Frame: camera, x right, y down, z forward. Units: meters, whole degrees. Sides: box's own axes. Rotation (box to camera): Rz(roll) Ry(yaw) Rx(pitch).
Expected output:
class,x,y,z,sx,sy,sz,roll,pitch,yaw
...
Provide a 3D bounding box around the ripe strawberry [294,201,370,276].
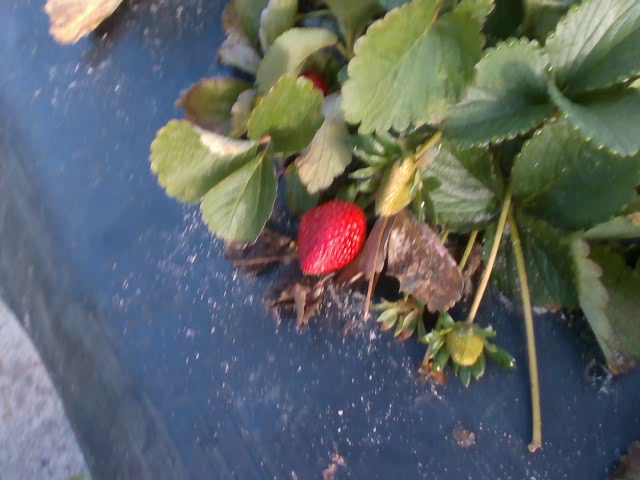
class,x,y,z,sx,sy,sz,roll,pitch,yaw
ripe strawberry,0.000,0.001,0.227,0.032,0.030,0.025,10,-39,25
